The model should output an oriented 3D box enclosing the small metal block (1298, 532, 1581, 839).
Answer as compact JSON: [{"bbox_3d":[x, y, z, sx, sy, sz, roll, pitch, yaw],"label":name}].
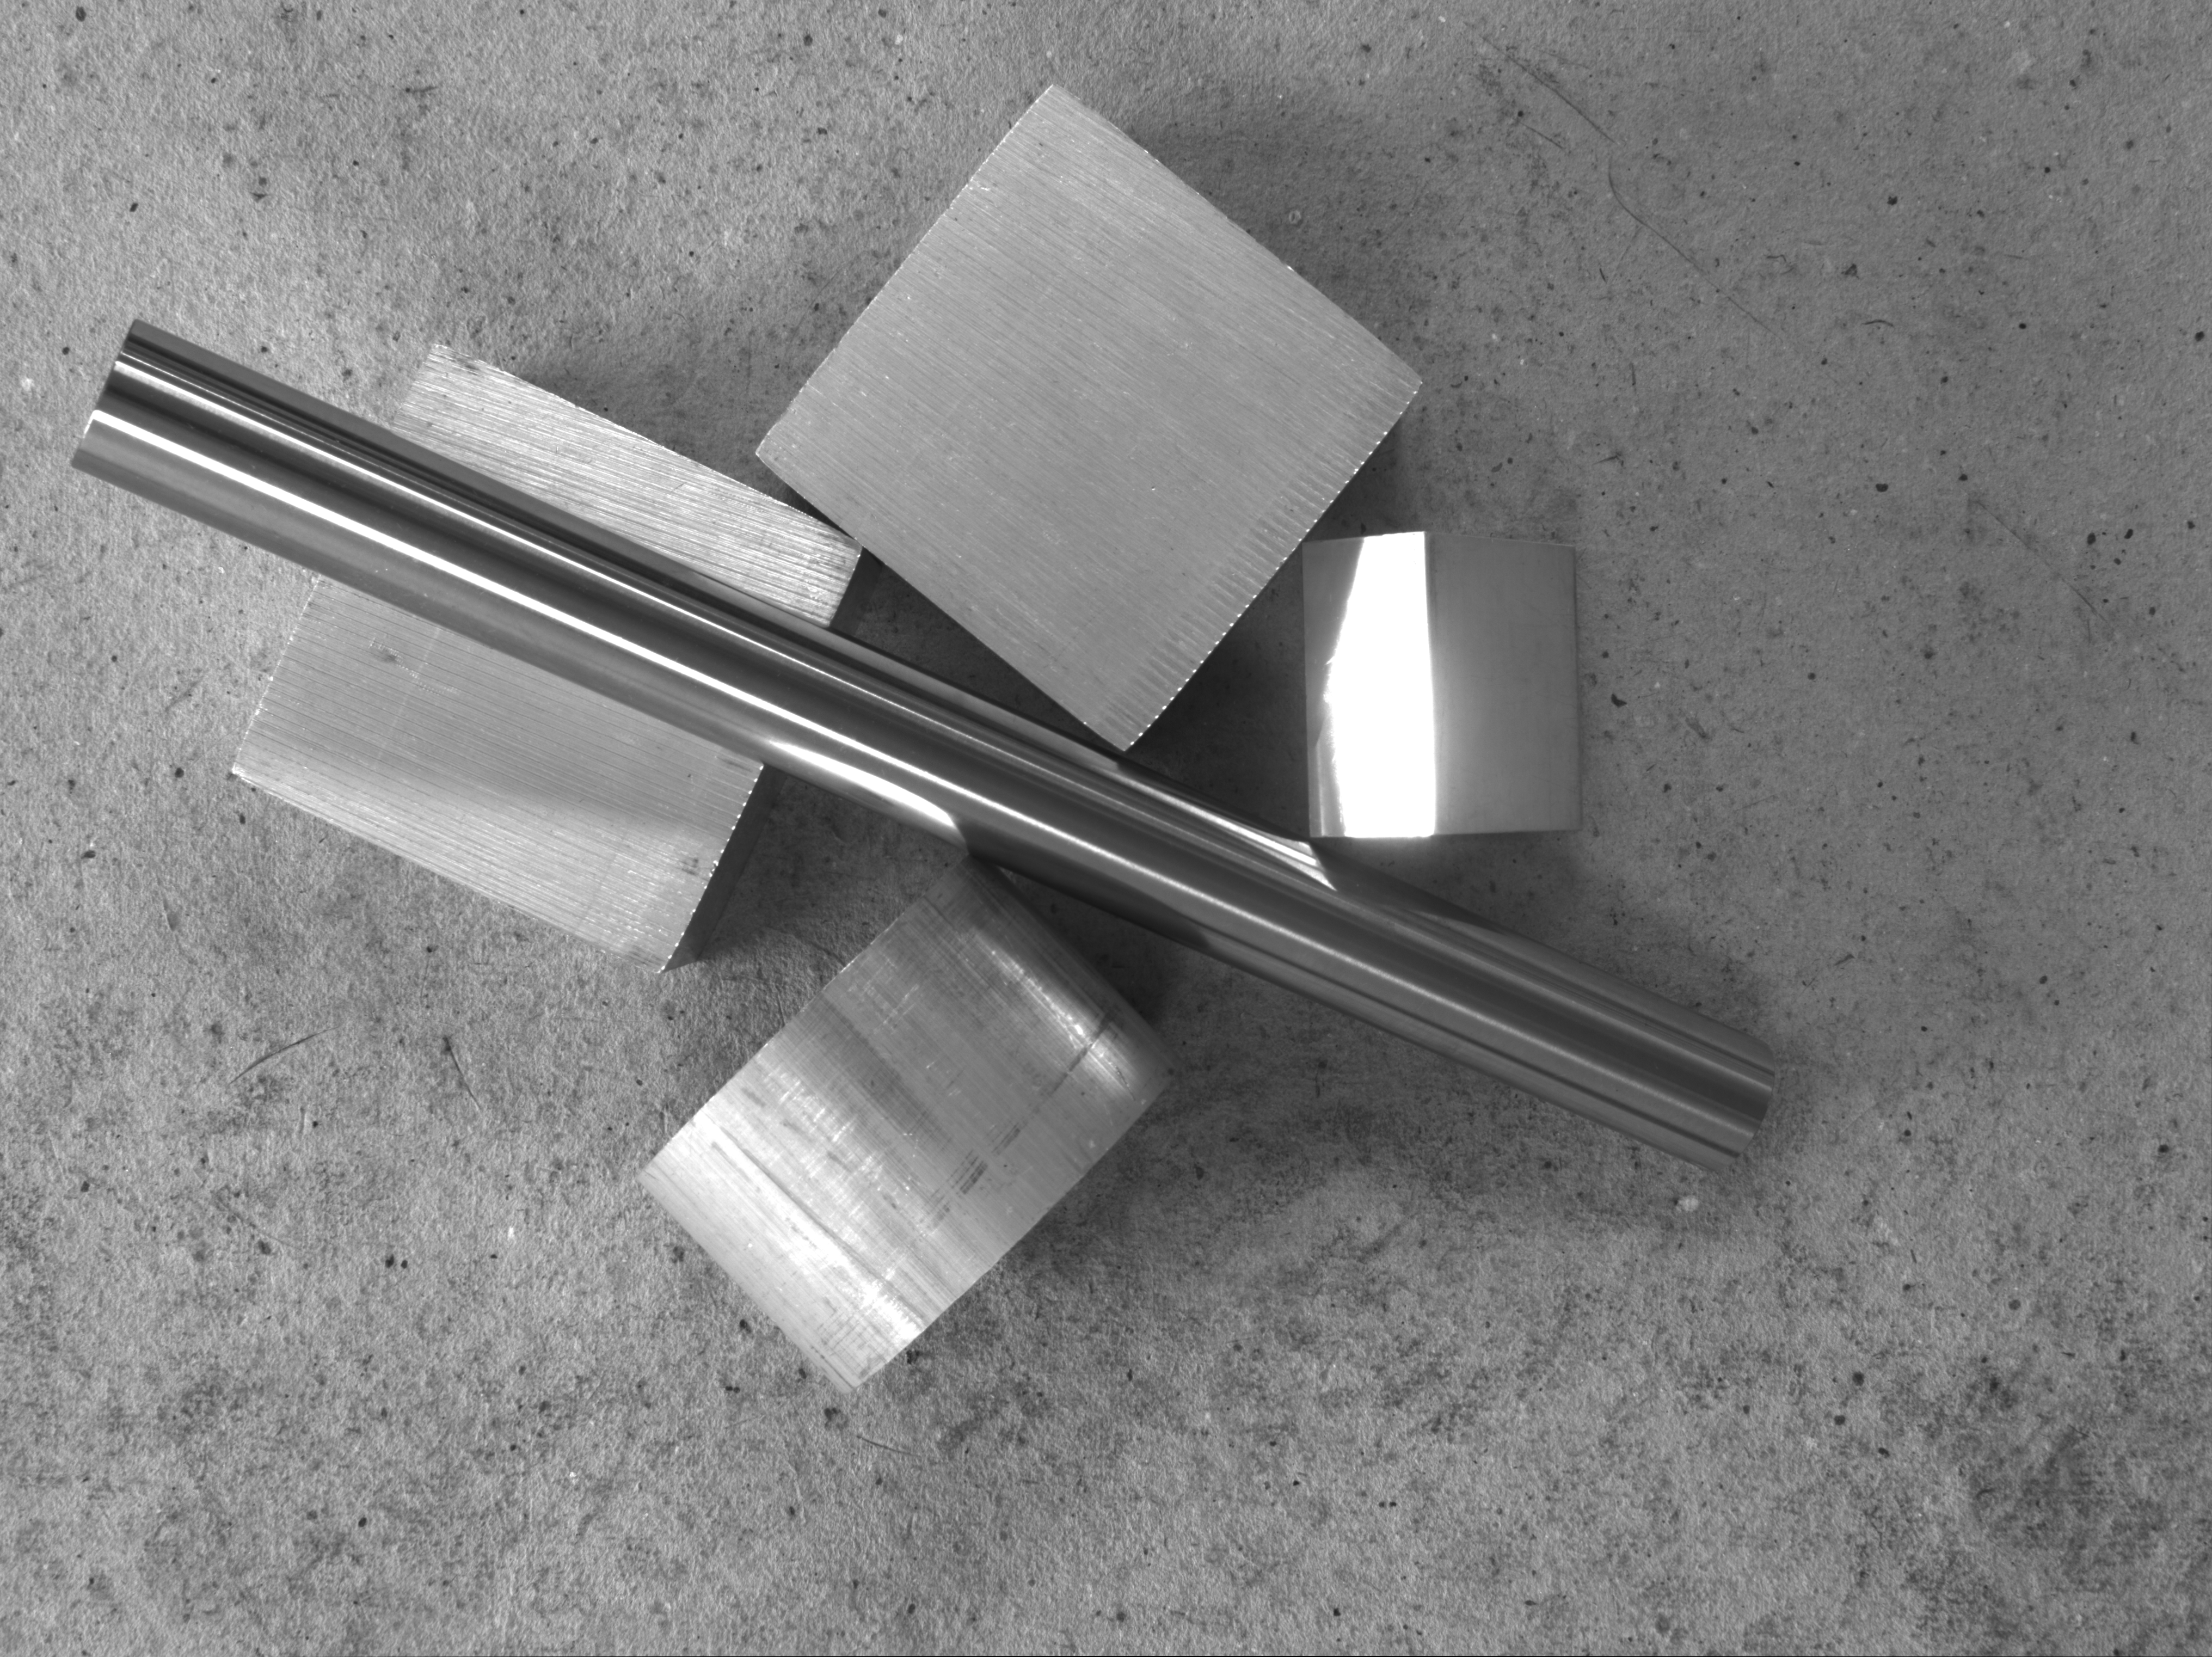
[{"bbox_3d":[0.058,-0.024,0.631,0.025,0.050,0.050,-2,90,36],"label":"small metal block"}]

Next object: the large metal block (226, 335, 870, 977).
[{"bbox_3d":[-0.093,-0.029,0.633,0.080,0.050,0.080,25,90,0],"label":"large metal block"}]

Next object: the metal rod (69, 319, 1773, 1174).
[{"bbox_3d":[-0.022,-0.009,0.605,0.300,0.025,0.025,24,90,-16],"label":"metal rod"}]

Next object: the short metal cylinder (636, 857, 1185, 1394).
[{"bbox_3d":[-0.033,0.049,0.618,0.080,0.080,0.050,-44,90,0],"label":"short metal cylinder"}]

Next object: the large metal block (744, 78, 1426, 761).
[{"bbox_3d":[-0.003,-0.067,0.631,0.080,0.050,0.080,39,90,0],"label":"large metal block"}]
